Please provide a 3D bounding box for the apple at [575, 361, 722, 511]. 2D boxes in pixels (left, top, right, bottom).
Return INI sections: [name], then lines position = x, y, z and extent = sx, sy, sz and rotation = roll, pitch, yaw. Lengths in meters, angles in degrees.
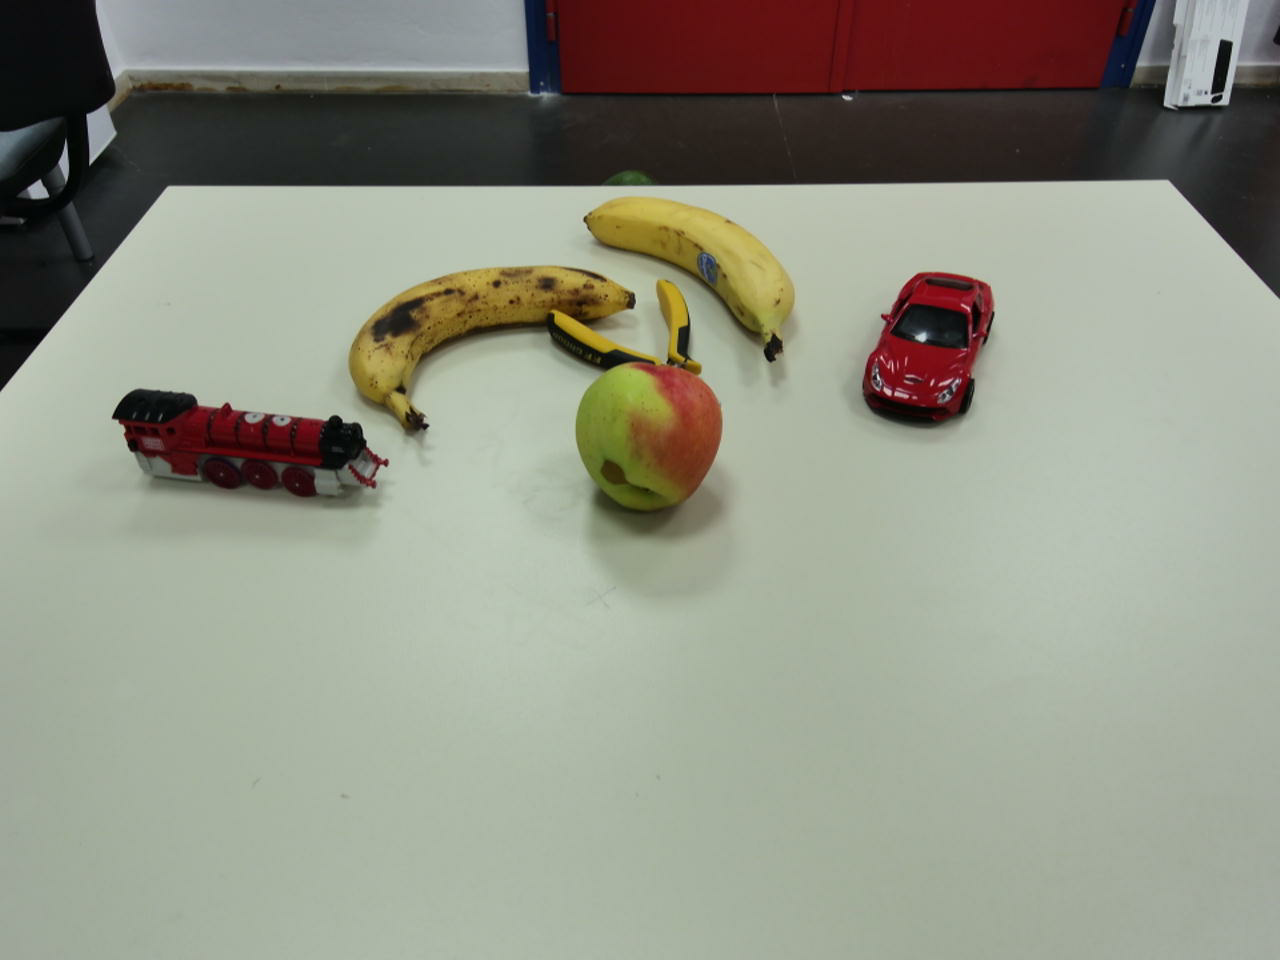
[apple]
position = 0.005, -0.023, 0.505
extent = 0.075, 0.074, 0.075
rotation = -12, 40, -15
